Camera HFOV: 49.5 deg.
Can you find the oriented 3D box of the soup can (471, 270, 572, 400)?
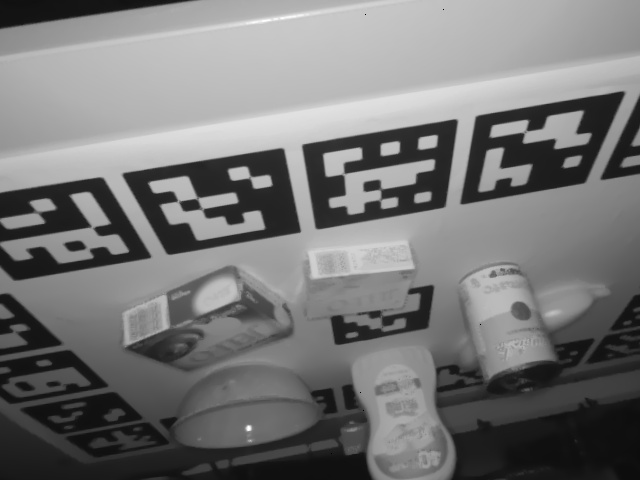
[{"bbox_3d":[0.182,0.087,0.635,0.068,0.102,0.067,-6,147,-3],"label":"soup can"}]

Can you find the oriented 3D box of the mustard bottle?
[{"bbox_3d":[0.095,0.228,0.727,0.096,0.192,0.058,-8,148,-2],"label":"mustard bottle"}]

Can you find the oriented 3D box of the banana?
[{"bbox_3d":[0.225,0.111,0.752,0.075,0.039,0.194,10,141,-43],"label":"banana"}]

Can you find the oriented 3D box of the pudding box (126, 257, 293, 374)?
[{"bbox_3d":[-0.093,0.068,0.600,0.113,0.039,0.090,-23,138,17],"label":"pudding box"}]

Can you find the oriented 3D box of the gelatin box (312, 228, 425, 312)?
[{"bbox_3d":[0.039,0.026,0.587,0.090,0.030,0.072,-6,142,-9],"label":"gelatin box"}]

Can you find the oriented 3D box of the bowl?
[{"bbox_3d":[-0.086,0.179,0.750,0.162,0.055,0.160,-9,146,-5],"label":"bowl"}]
